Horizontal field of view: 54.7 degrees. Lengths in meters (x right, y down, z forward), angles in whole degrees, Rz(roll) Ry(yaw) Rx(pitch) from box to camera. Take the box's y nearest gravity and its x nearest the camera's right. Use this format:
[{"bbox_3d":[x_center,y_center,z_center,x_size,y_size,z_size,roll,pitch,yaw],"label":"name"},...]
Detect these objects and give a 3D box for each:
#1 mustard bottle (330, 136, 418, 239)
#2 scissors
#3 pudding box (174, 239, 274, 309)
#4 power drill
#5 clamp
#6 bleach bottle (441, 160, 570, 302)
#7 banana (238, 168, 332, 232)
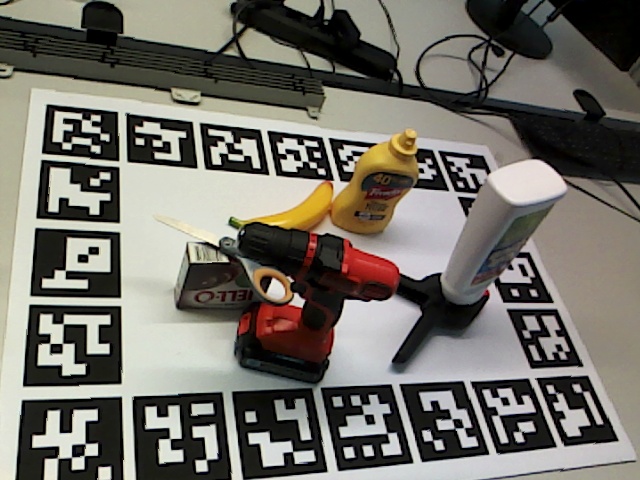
[{"bbox_3d":[0.090,-0.081,0.920,0.096,0.191,0.058,15,48,-14],"label":"mustard bottle"},{"bbox_3d":[-0.109,0.000,0.737,0.202,0.016,0.088,26,51,-9],"label":"scissors"},{"bbox_3d":[-0.121,0.045,0.783,0.113,0.090,0.039,7,44,-20],"label":"pudding box"},{"bbox_3d":[-0.024,0.069,0.701,0.184,0.187,0.057,12,42,-12],"label":"power drill"},{"bbox_3d":[0.169,0.081,0.900,0.201,0.037,0.166,-2,56,-27],"label":"clamp"},{"bbox_3d":[0.233,0.008,0.846,0.102,0.250,0.068,-18,58,-27],"label":"bleach bottle"},{"bbox_3d":[-0.034,-0.059,0.935,0.074,0.039,0.196,29,45,24],"label":"banana"}]
